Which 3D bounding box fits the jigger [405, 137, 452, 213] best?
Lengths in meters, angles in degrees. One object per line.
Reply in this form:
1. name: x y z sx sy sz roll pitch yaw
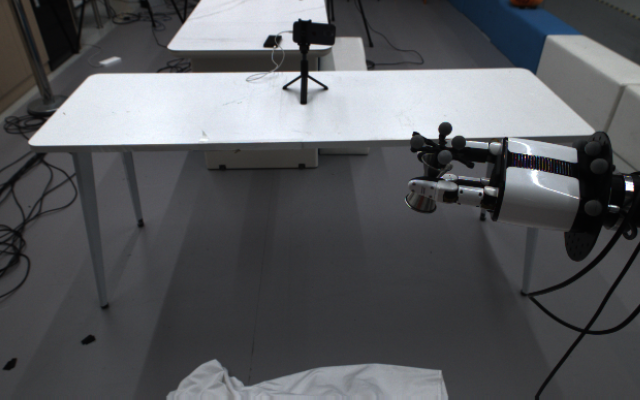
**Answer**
1. jigger: 0.140 -0.023 0.632 0.043 0.071 0.043 10 35 -7
